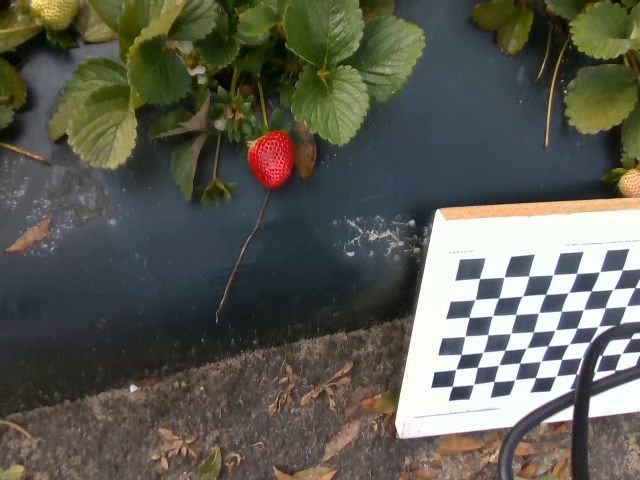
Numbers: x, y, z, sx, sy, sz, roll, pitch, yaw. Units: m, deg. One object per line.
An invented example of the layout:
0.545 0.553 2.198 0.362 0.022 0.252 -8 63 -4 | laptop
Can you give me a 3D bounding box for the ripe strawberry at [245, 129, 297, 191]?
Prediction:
-0.043 -0.066 0.546 0.050 0.053 0.049 -11 -34 -7 | ripe strawberry
